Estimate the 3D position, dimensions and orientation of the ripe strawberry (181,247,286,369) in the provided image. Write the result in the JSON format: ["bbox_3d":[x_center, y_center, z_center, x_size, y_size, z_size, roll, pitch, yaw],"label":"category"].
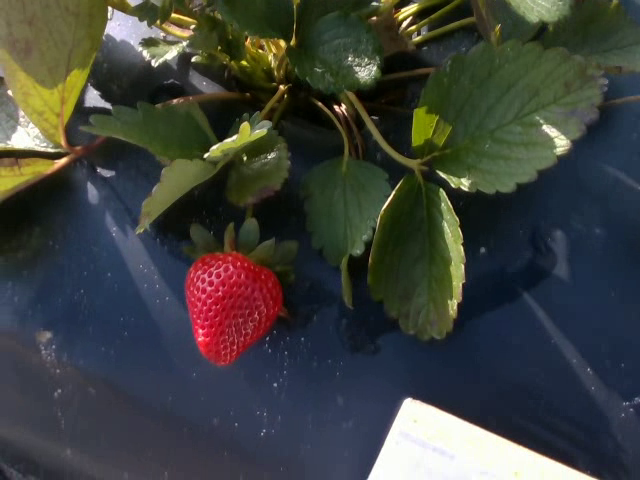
[{"bbox_3d":[-0.031,0.025,0.187,0.041,0.047,0.041,-2,-39,29],"label":"ripe strawberry"}]
